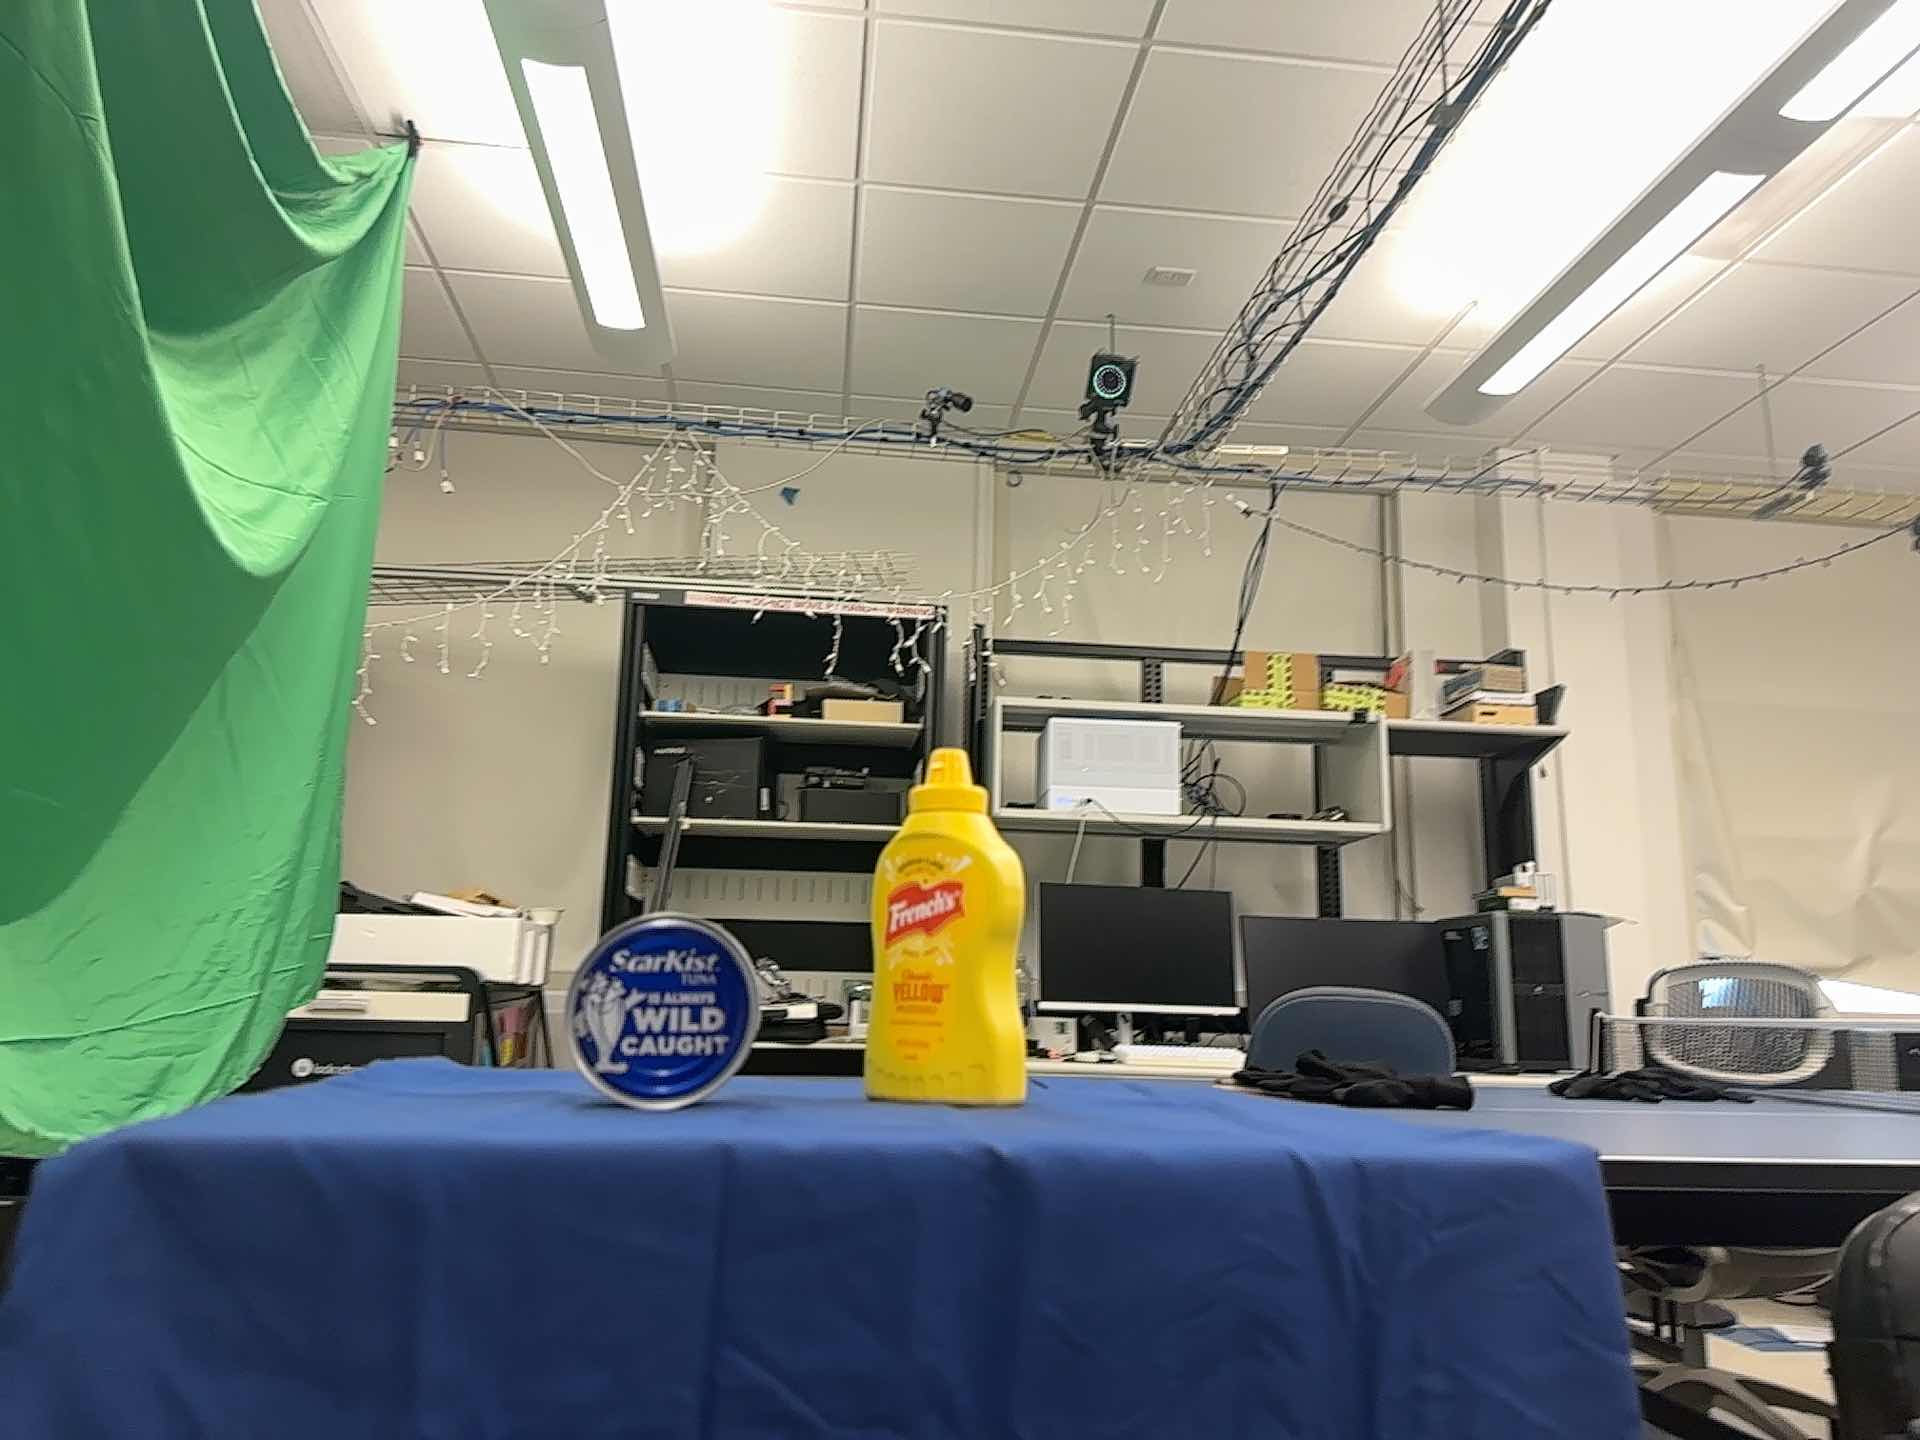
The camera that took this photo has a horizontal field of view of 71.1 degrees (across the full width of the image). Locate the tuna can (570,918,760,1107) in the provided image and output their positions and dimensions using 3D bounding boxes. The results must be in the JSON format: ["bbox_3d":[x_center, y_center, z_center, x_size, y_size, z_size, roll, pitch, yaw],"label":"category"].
[{"bbox_3d":[-0.136,0.136,0.628,0.083,0.083,0.034,2,-12,-2],"label":"tuna can"}]

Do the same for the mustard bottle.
[{"bbox_3d":[-0.009,0.103,0.693,0.092,0.184,0.054,-10,-17,43],"label":"mustard bottle"}]
